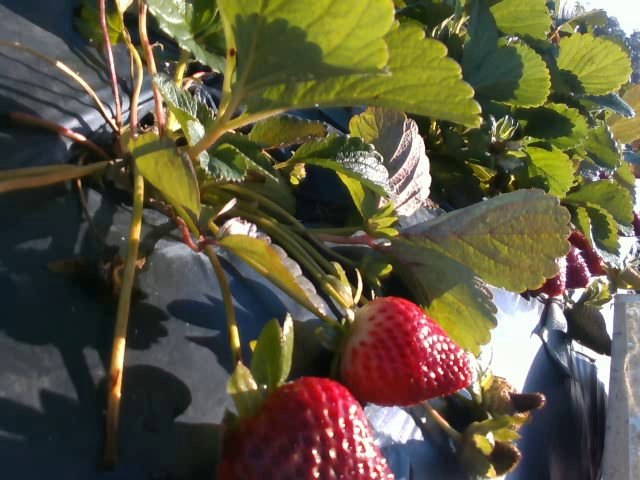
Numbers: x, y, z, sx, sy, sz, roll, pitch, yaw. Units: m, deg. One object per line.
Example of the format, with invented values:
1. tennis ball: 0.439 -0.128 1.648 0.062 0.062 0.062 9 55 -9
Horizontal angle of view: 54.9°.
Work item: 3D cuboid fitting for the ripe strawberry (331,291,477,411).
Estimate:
1. ripe strawberry: 0.030 0.039 0.205 0.049 0.042 0.039 17 -30 5
